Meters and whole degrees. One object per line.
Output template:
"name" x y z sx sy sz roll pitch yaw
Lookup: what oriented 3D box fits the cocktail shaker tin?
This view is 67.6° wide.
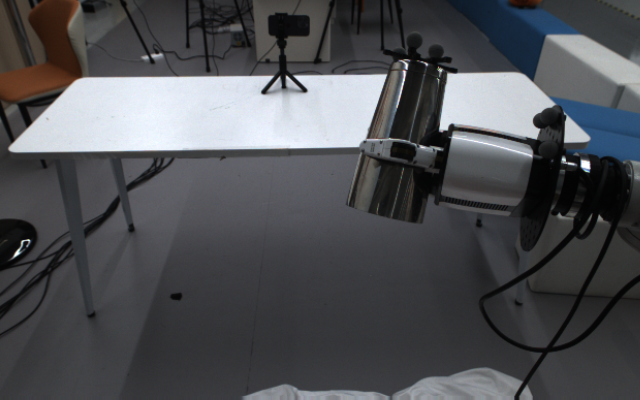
"cocktail shaker tin" 0.095 -0.067 0.556 0.093 0.170 0.093 13 4 -1
